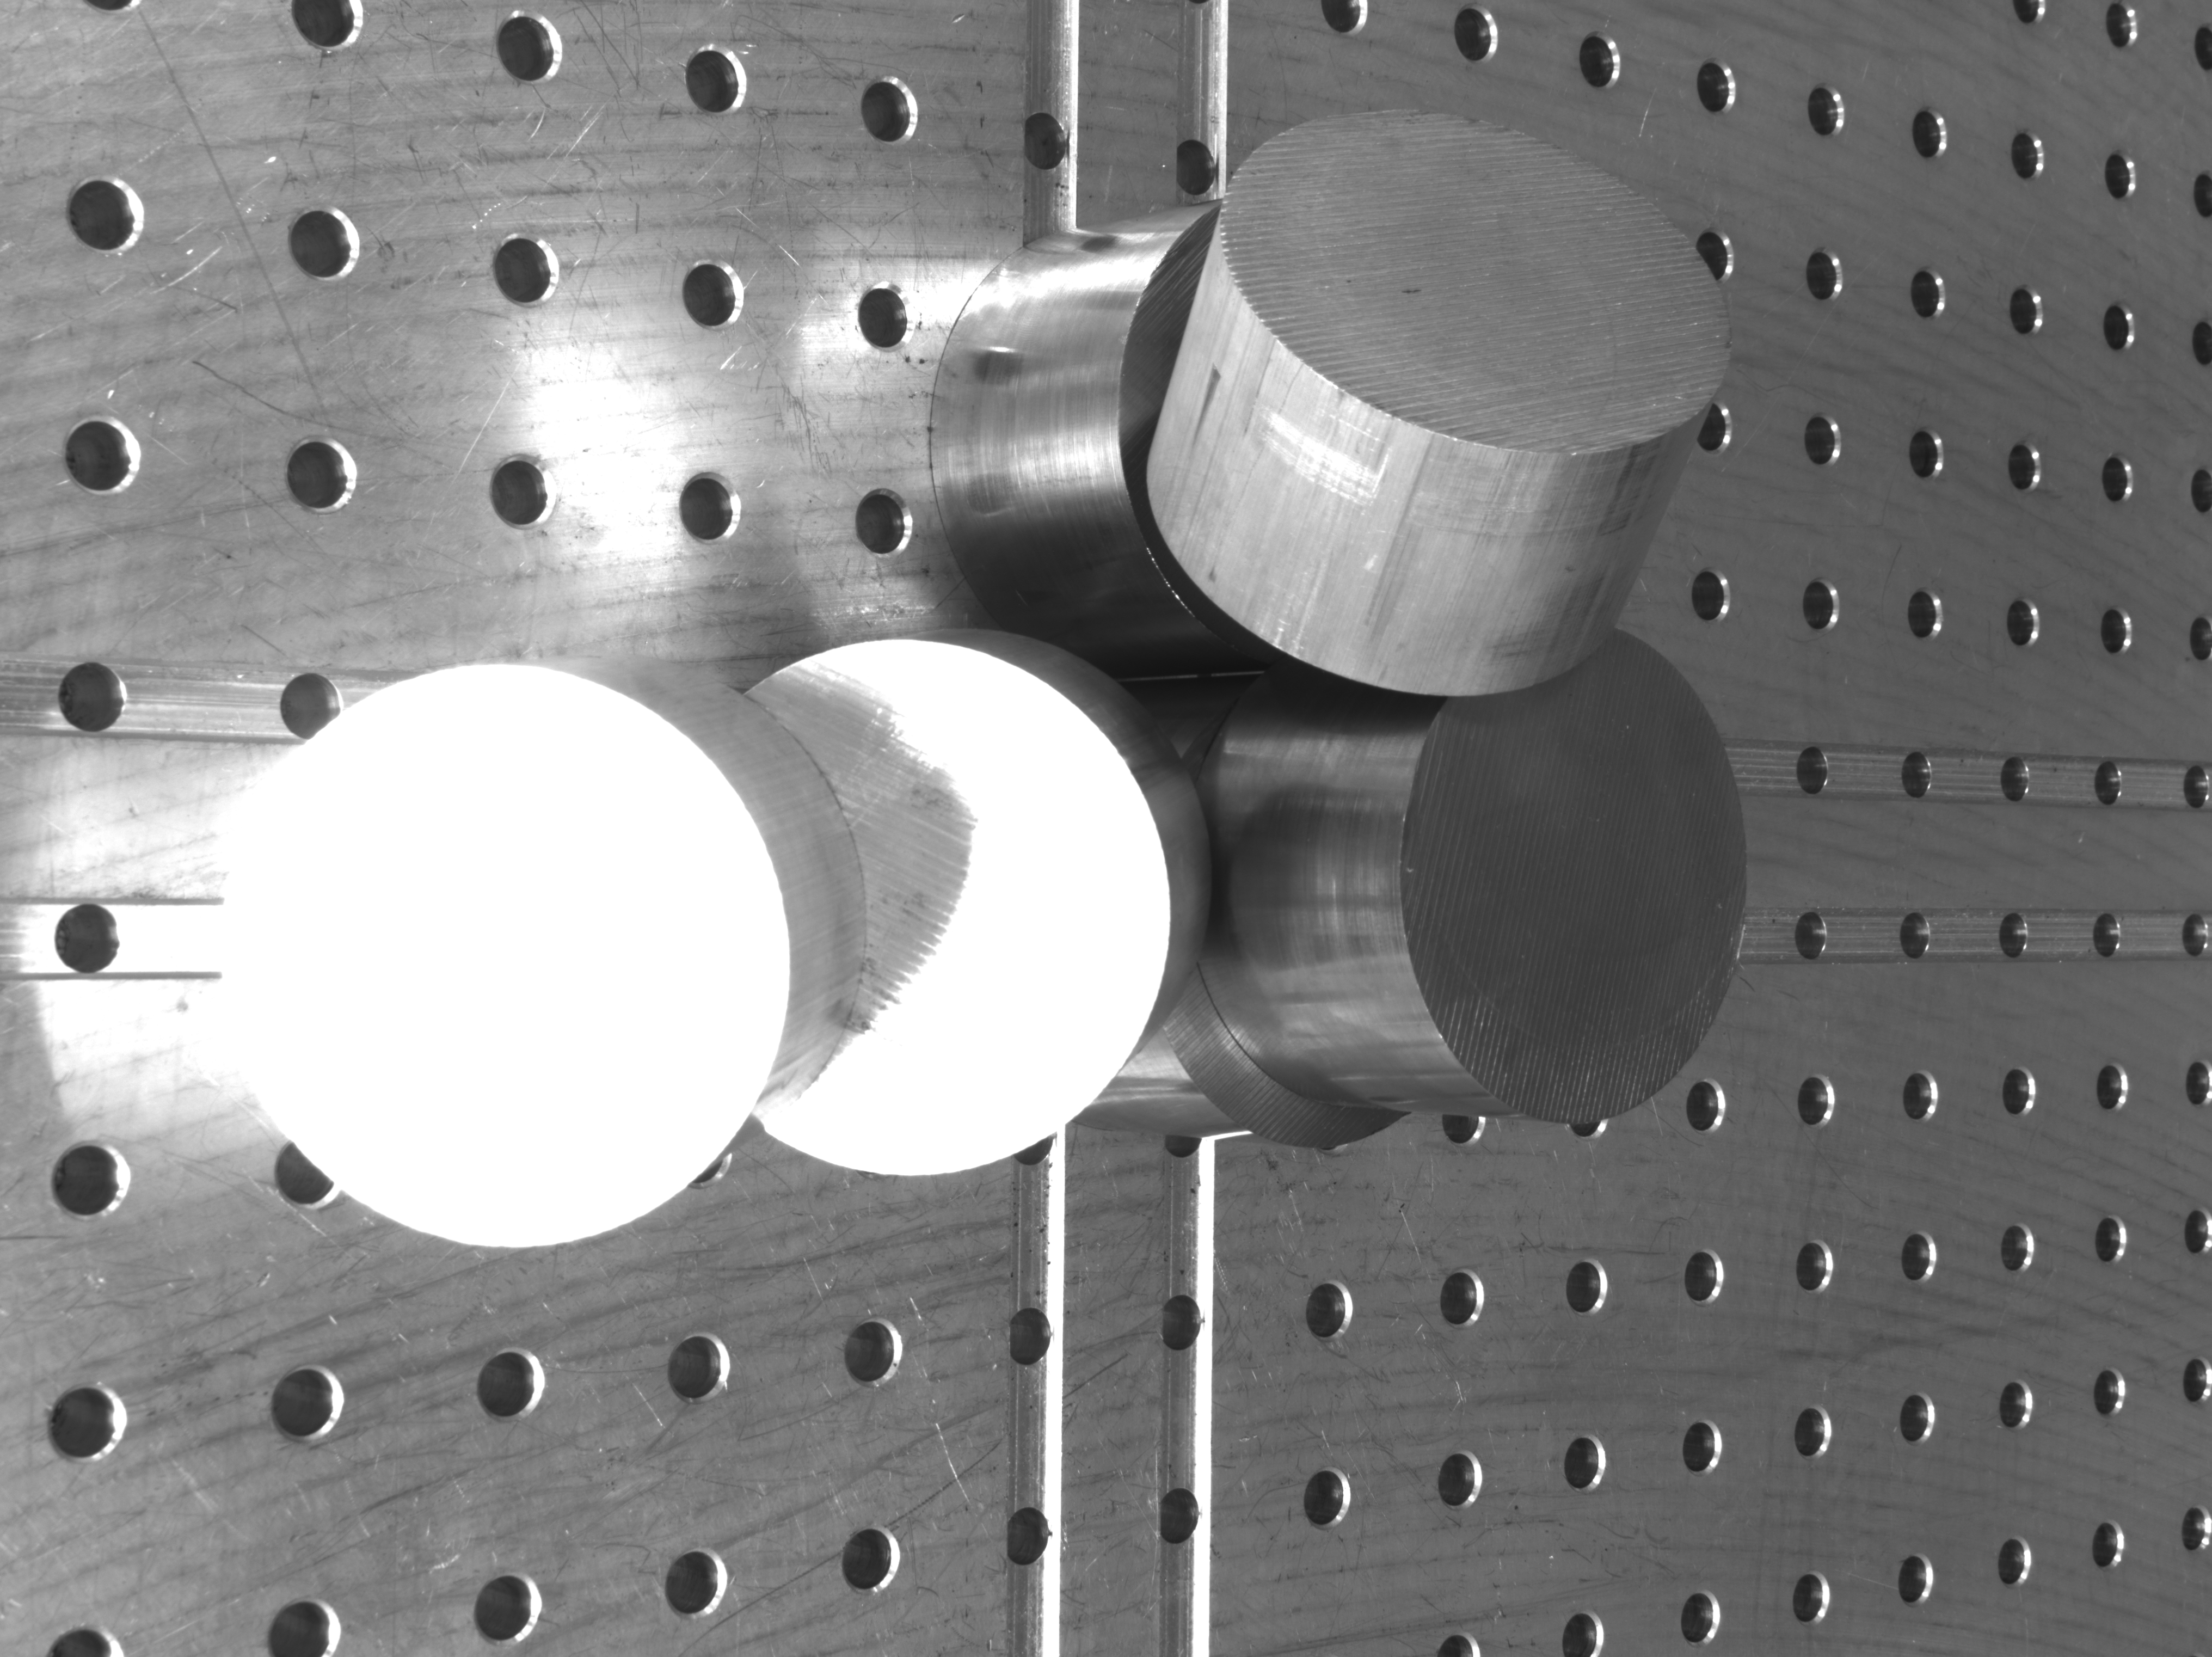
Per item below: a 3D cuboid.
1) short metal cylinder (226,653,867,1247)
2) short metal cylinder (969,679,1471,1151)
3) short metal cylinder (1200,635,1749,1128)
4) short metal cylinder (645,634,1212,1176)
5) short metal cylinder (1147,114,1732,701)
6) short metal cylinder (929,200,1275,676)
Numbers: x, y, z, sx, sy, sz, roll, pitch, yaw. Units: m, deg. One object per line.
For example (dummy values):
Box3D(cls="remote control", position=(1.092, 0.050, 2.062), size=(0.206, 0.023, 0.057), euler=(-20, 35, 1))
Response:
Box3D(cls="short metal cylinder", position=(-0.079, 0.016, 0.530), size=(0.050, 0.080, 0.080), euler=(-34, 119, -80))
Box3D(cls="short metal cylinder", position=(0.020, 0.014, 0.639), size=(0.080, 0.050, 0.080), euler=(0, 90, -40))
Box3D(cls="short metal cylinder", position=(0.060, 0.008, 0.606), size=(0.080, 0.050, 0.080), euler=(0, 90, -39))
Box3D(cls="short metal cylinder", position=(-0.026, 0.010, 0.573), size=(0.050, 0.080, 0.080), euler=(-30, 115, -80))
Box3D(cls="short metal cylinder", position=(0.051, -0.066, 0.572), size=(0.080, 0.080, 0.050), euler=(-30, 152, -36))
Box3D(cls="short metal cylinder", position=(0.017, -0.067, 0.637), size=(0.080, 0.050, 0.080), euler=(0, 90, -39))
